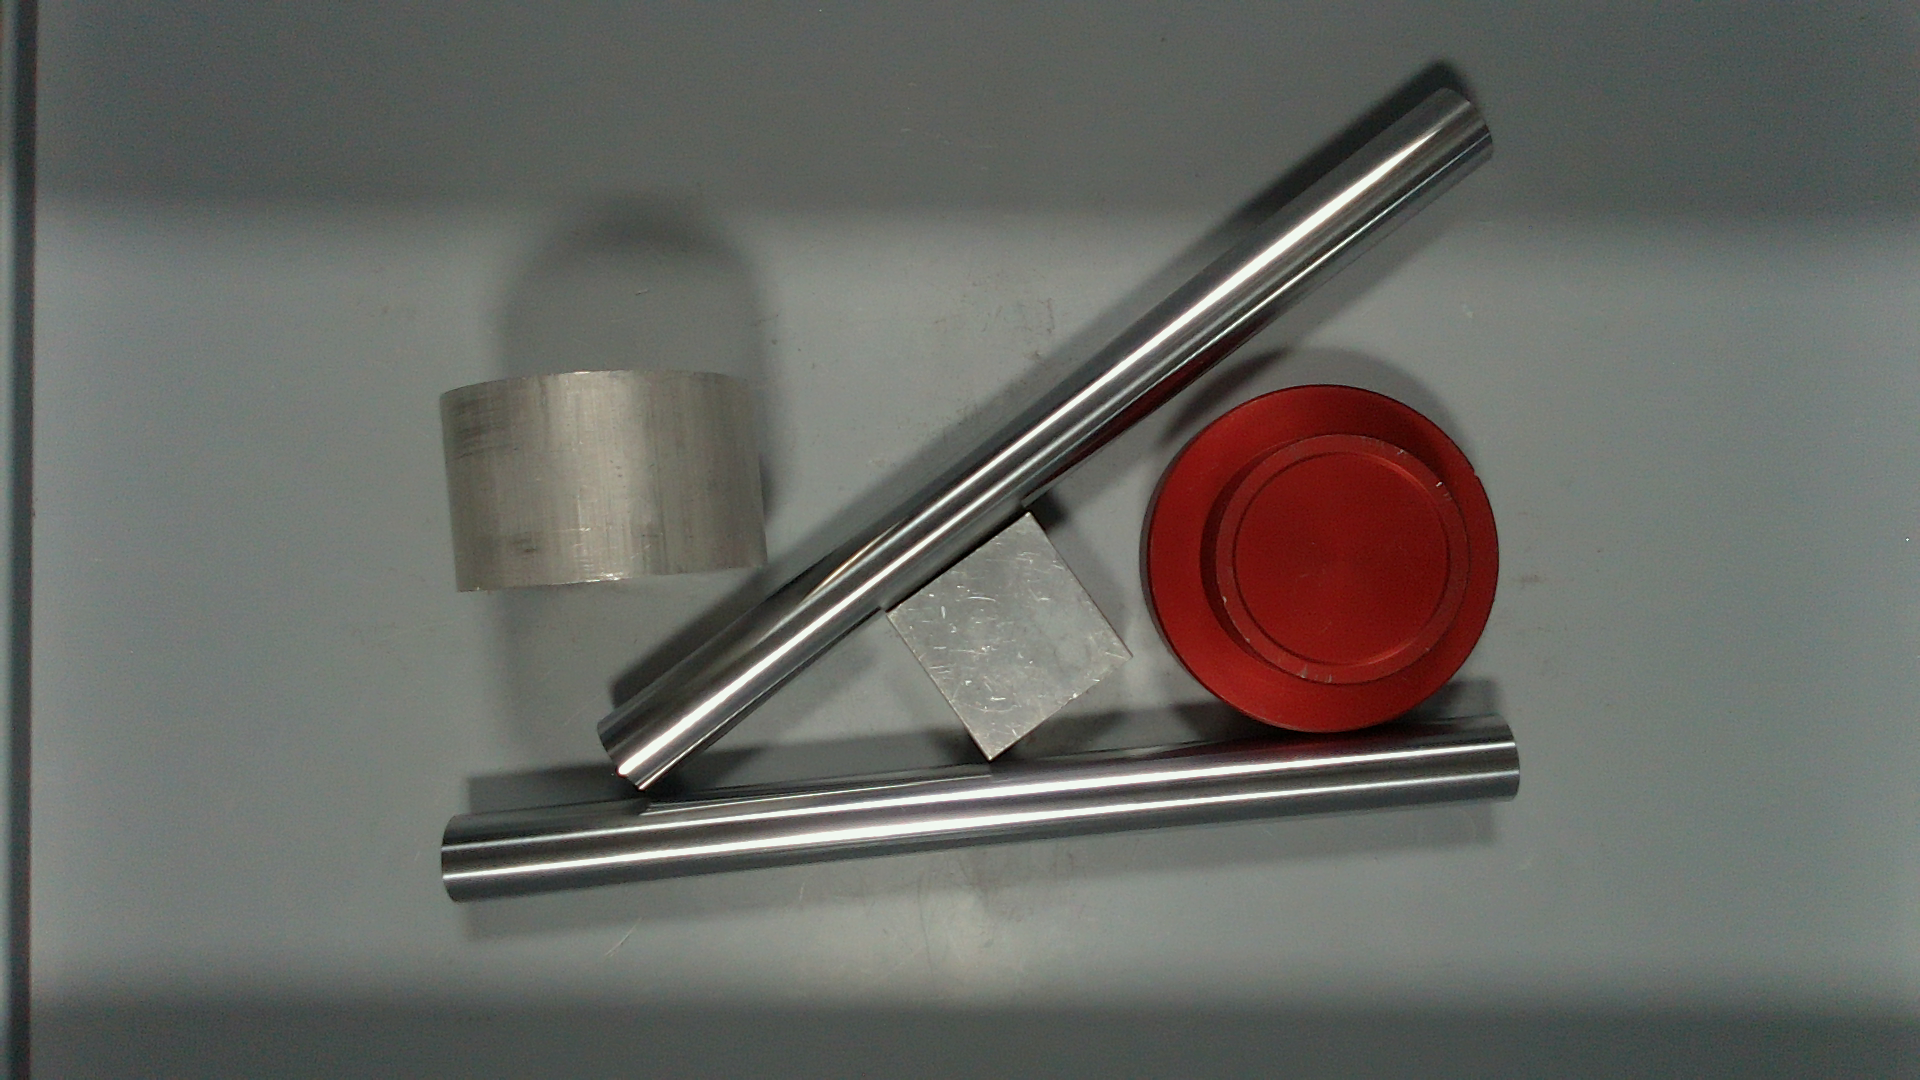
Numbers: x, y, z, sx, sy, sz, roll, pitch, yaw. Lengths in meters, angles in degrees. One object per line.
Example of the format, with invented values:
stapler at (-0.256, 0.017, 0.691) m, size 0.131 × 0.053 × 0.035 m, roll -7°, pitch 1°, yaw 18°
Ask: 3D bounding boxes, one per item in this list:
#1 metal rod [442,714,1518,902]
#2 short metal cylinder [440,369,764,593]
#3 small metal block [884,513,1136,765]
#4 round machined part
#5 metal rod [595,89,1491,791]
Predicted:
metal rod at (0.006, 0.077, 0.395) m, size 0.300 × 0.025 × 0.025 m, roll -6°, pitch 90°, yaw 0°
short metal cylinder at (-0.094, -0.015, 0.367) m, size 0.080 × 0.080 × 0.050 m, roll -5°, pitch 90°, yaw 0°
small metal block at (0.014, 0.027, 0.394) m, size 0.050 × 0.025 × 0.050 m, roll -36°, pitch 90°, yaw 0°
round machined part at (0.102, 0.005, 0.385) m, size 0.098 × 0.042 × 0.098 m, roll 0°, pitch 90°, yaw 0°
metal rod at (0.024, -0.028, 0.394) m, size 0.300 × 0.025 × 0.025 m, roll -37°, pitch 90°, yaw 0°
